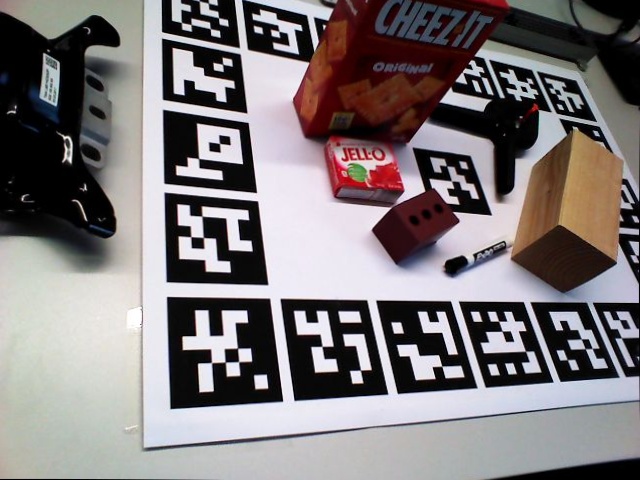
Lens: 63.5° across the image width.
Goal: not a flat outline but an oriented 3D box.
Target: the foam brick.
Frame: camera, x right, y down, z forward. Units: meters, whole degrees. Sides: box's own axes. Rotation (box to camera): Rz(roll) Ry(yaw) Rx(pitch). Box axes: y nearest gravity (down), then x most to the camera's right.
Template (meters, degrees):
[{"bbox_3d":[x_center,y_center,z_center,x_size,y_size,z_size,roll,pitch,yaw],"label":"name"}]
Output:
[{"bbox_3d":[0.116,-0.010,0.600,0.077,0.052,0.052,-25,77,-33],"label":"foam brick"}]

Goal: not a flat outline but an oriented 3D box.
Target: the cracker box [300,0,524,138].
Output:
[{"bbox_3d":[0.094,-0.211,0.596,0.163,0.215,0.072,-1,63,-27],"label":"cracker box"}]

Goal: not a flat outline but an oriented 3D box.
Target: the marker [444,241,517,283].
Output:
[{"bbox_3d":[0.197,0.026,0.635,0.120,0.020,0.019,-19,74,-31],"label":"marker"}]

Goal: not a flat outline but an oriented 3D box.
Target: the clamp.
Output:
[{"bbox_3d":[0.278,-0.165,0.769,0.201,0.037,0.165,-32,80,-34],"label":"clamp"}]

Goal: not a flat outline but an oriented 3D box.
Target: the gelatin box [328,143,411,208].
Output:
[{"bbox_3d":[0.060,-0.078,0.629,0.089,0.030,0.073,1,65,-24],"label":"gelatin box"}]

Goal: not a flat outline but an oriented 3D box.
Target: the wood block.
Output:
[{"bbox_3d":[0.346,-0.041,0.703,0.090,0.091,0.204,31,52,-3],"label":"wood block"}]
